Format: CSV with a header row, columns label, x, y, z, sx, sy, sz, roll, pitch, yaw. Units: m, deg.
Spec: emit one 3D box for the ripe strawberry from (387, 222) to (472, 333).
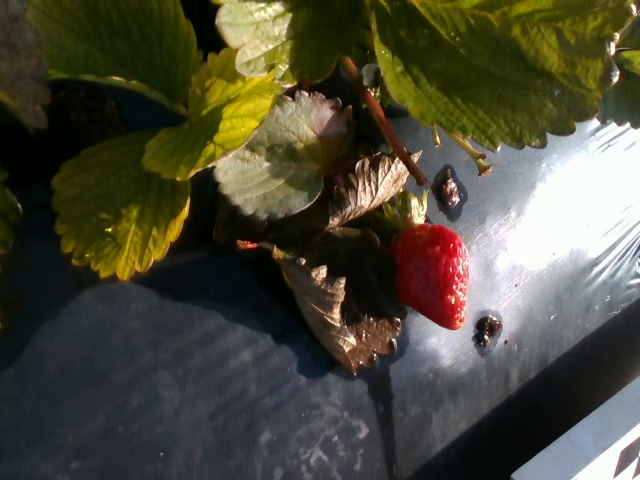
label,x,y,z,sx,sy,sz,roll,pitch,yaw
ripe strawberry,0.046,0.021,0.223,0.046,0.054,0.037,-4,-18,-39
